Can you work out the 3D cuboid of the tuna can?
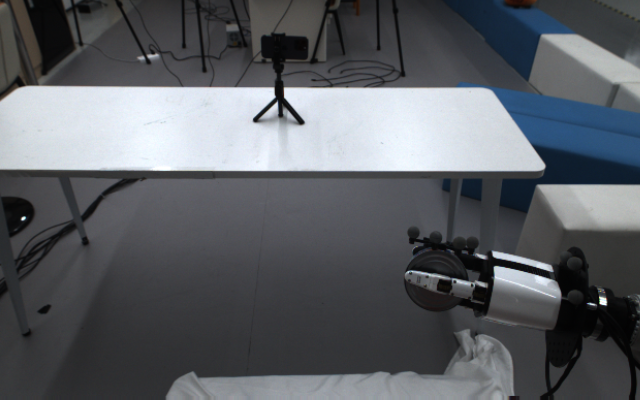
[{"bbox_3d":[0.163,0.105,0.671,0.085,0.085,0.034,10,3,12],"label":"tuna can"}]
